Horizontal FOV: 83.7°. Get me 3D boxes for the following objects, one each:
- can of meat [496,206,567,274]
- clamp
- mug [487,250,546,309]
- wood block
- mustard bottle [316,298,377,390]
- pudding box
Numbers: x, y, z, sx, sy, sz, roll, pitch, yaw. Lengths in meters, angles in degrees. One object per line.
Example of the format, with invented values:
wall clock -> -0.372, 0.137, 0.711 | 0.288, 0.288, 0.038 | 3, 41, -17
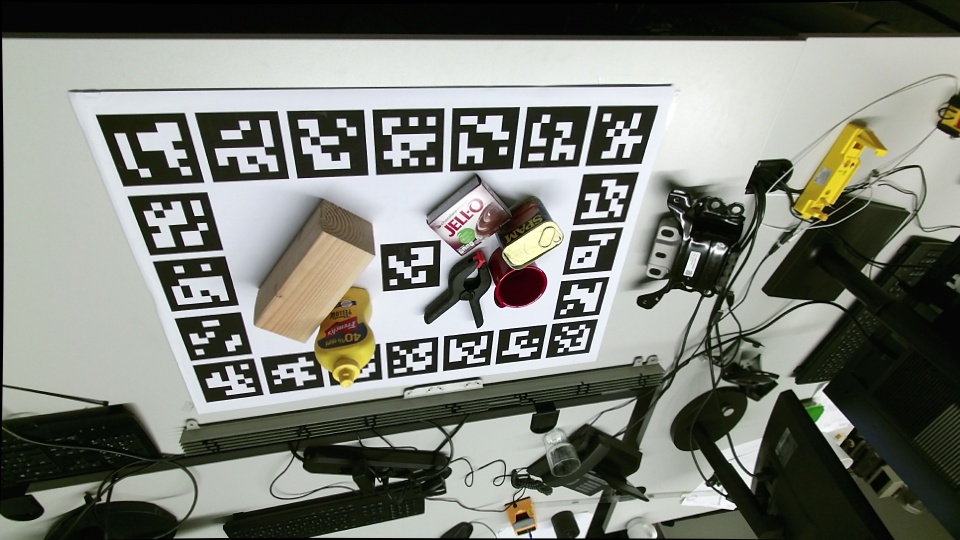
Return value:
can of meat -> 0.081, -0.051, 0.891 | 0.102, 0.083, 0.058 | -29, 127, 6
clamp -> -0.028, 0.058, 0.980 | 0.122, 0.036, 0.165 | 13, 119, -22
mug -> 0.056, 0.021, 0.972 | 0.094, 0.081, 0.117 | 15, 118, -25
wood block -> -0.263, 0.011, 0.842 | 0.090, 0.090, 0.206 | 29, 115, -34
mustard bottle -> -0.217, 0.124, 0.868 | 0.096, 0.190, 0.058 | -9, 126, -11
pudding box -> -0.020, -0.076, 0.878 | 0.114, 0.038, 0.090 | -36, 126, 13
